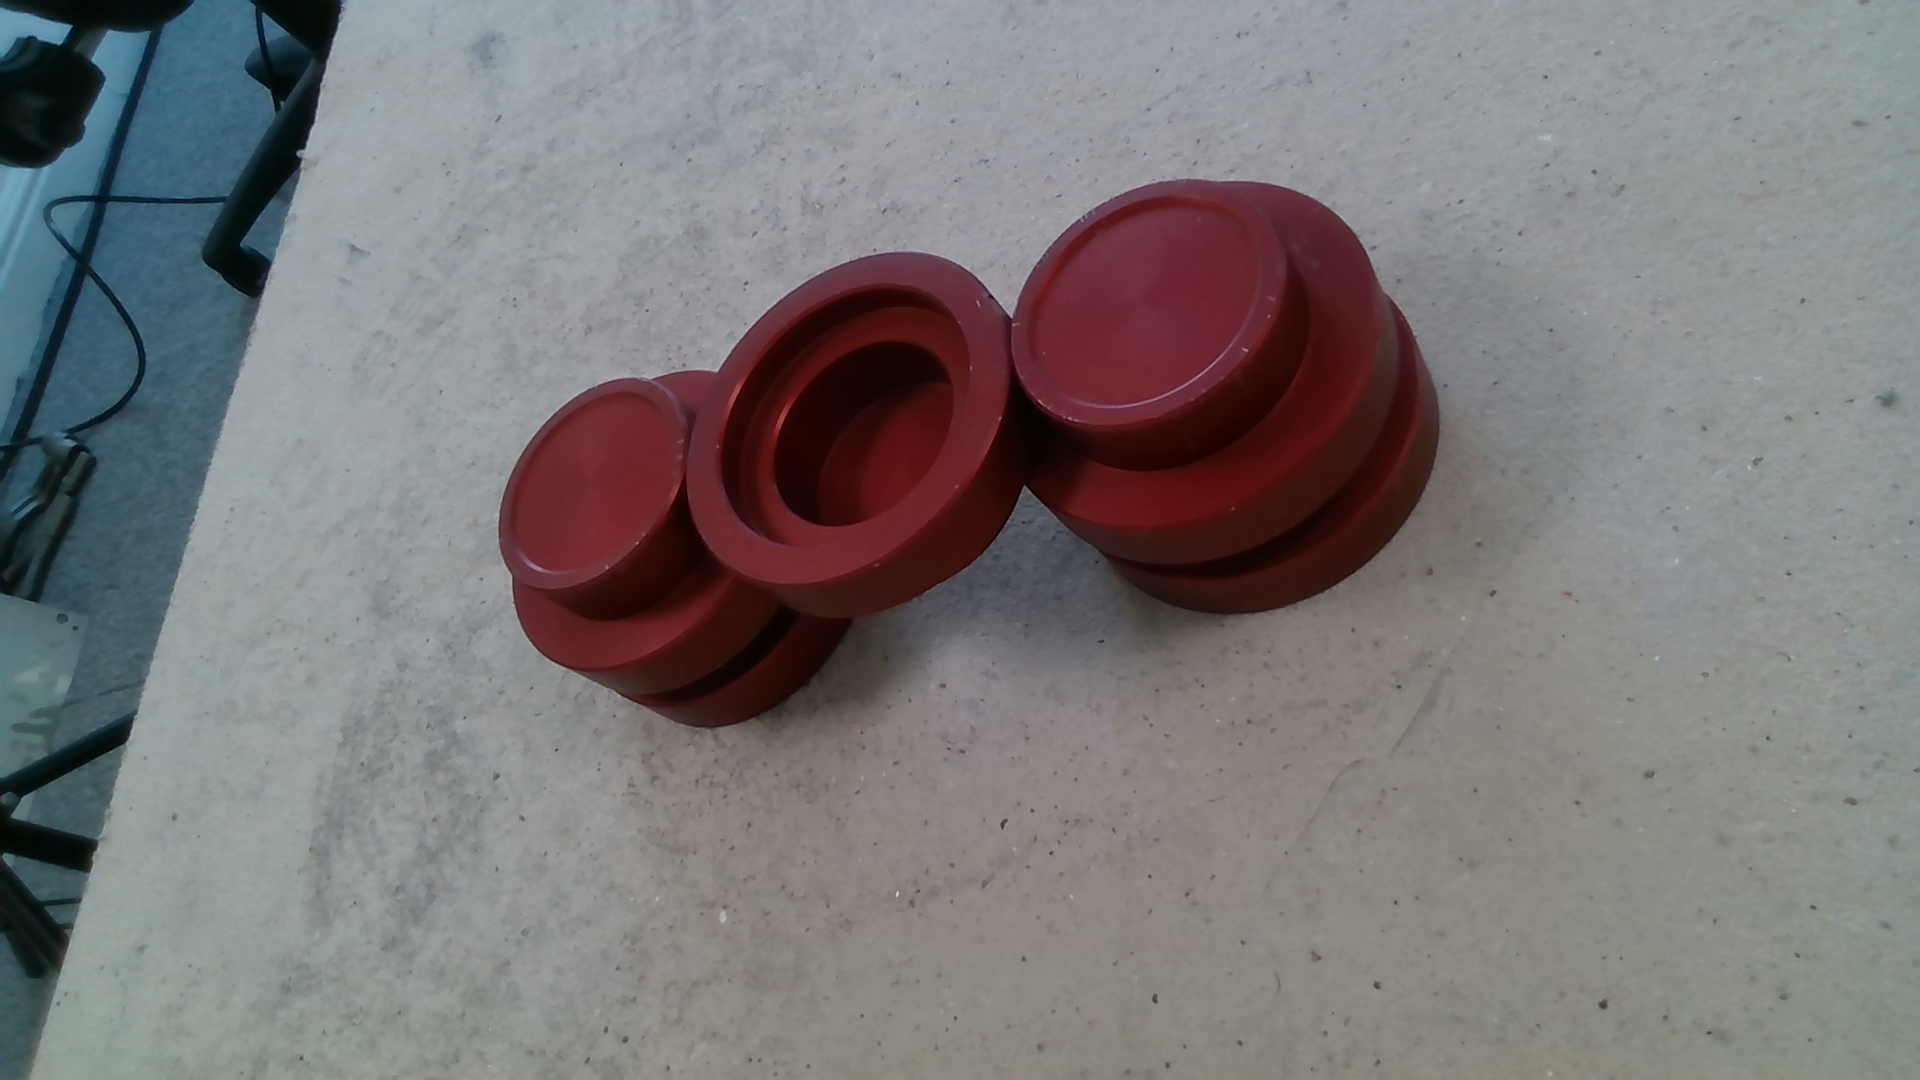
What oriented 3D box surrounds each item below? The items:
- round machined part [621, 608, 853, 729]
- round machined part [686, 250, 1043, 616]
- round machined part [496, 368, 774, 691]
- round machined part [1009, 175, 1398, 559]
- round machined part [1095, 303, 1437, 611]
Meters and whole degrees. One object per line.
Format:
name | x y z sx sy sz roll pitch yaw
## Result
round machined part | -0.081 0.006 0.430 0.098 0.042 0.098 -14 58 24
round machined part | -0.021 -0.025 0.367 0.098 0.042 0.098 -14 59 25
round machined part | -0.095 -0.009 0.402 0.098 0.042 0.098 -15 58 25
round machined part | 0.051 -0.048 0.334 0.098 0.042 0.098 -15 58 25
round machined part | 0.069 -0.034 0.358 0.098 0.042 0.098 -15 57 25
